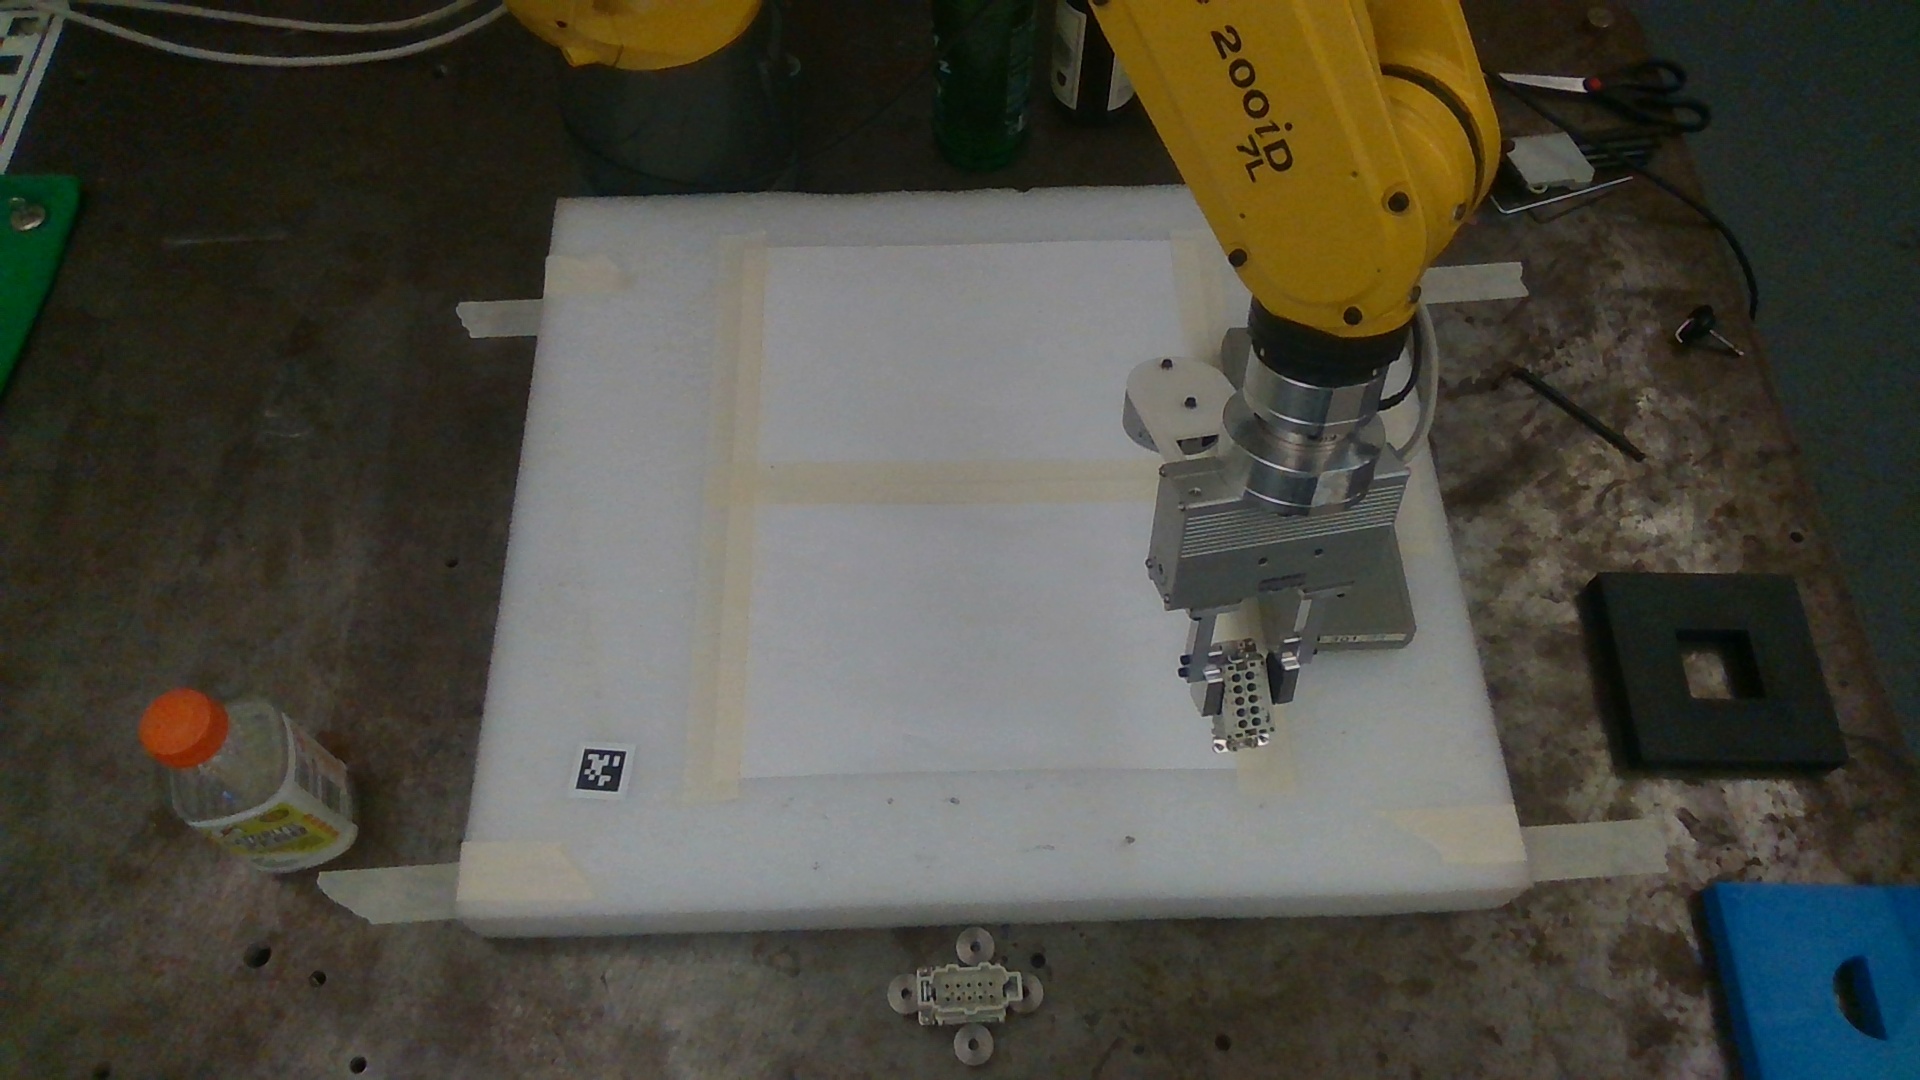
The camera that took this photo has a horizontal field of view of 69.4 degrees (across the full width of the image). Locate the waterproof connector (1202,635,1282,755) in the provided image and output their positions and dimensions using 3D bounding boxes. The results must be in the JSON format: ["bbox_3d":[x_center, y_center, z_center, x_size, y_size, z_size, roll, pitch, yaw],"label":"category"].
[{"bbox_3d":[0.166,0.092,0.828,0.036,0.039,0.069,-9,91,-10],"label":"waterproof connector"}]
